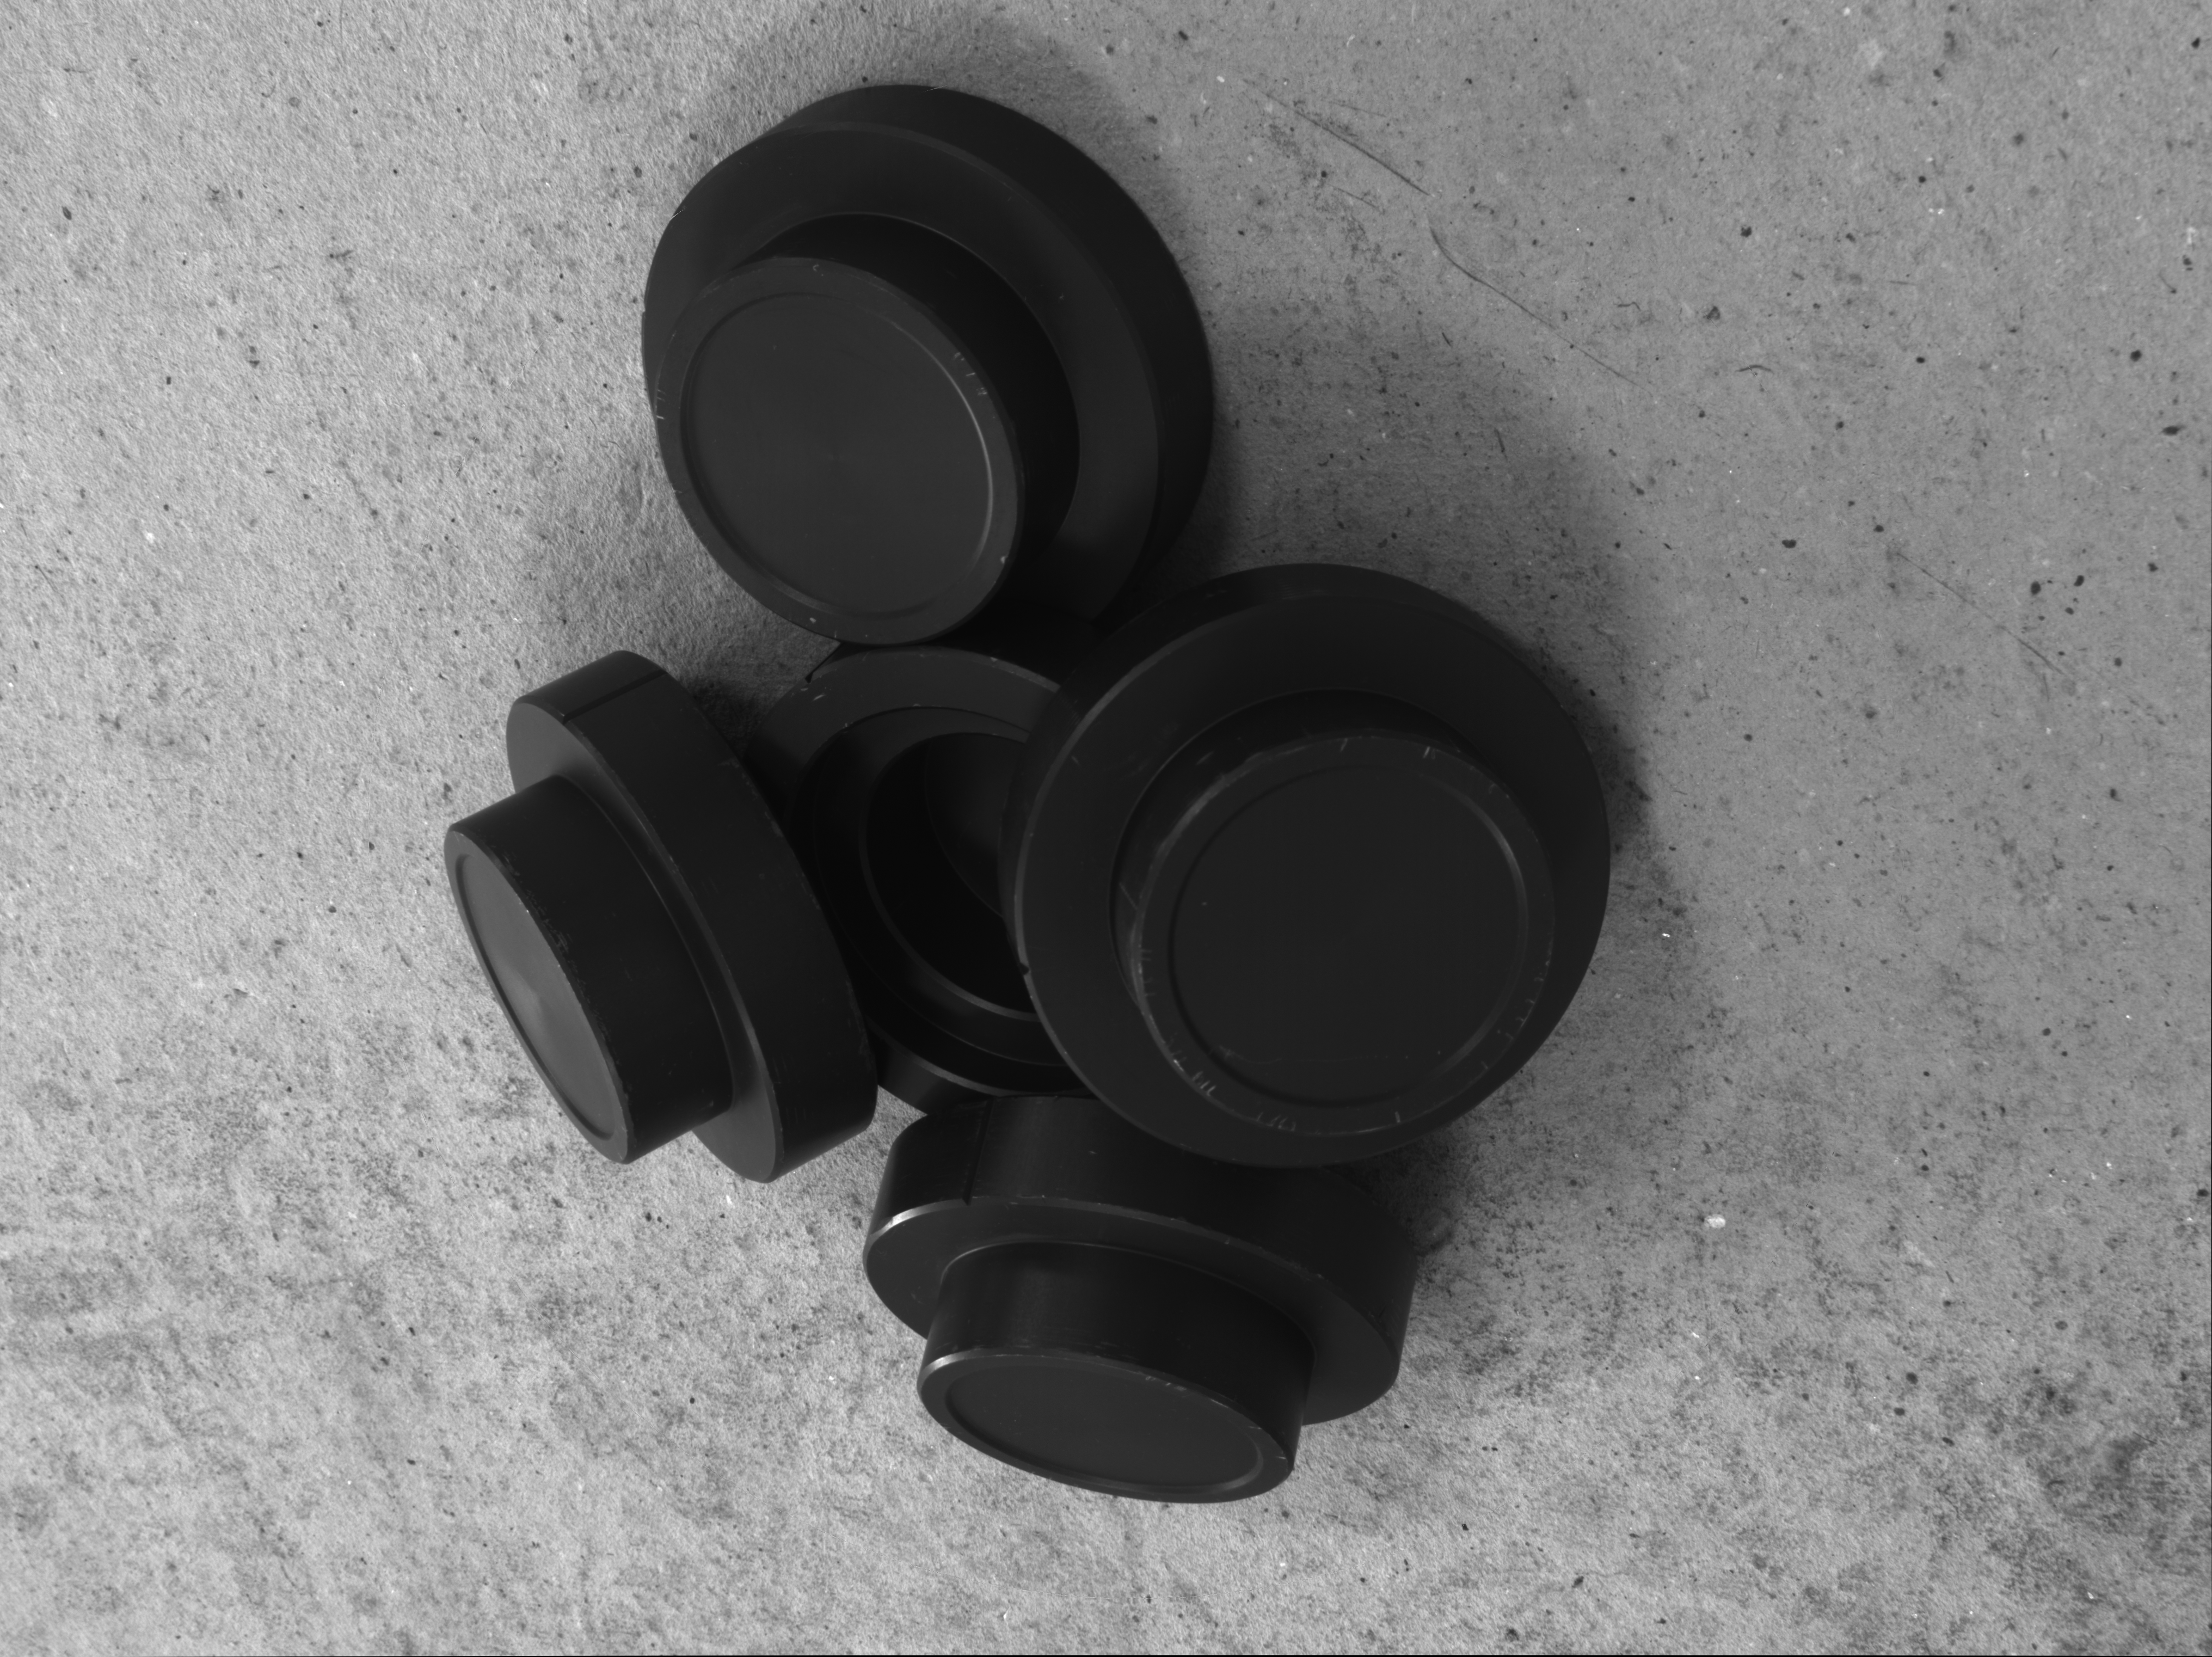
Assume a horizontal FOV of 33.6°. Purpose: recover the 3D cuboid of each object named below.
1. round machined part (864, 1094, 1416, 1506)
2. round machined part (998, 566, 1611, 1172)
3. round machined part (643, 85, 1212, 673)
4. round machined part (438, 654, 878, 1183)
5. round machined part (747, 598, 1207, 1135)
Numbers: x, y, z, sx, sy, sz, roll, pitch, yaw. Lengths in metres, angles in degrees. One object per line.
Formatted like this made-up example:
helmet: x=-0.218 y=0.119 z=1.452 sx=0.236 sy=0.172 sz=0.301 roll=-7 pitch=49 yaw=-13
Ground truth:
round machined part: x=0.004 y=0.089 z=0.656 sx=0.098 sy=0.042 sz=0.098 roll=11 pitch=151 yaw=6
round machined part: x=0.034 y=0.011 z=0.587 sx=0.098 sy=0.042 sz=0.098 roll=-3 pitch=110 yaw=-9
round machined part: x=-0.035 y=-0.070 z=0.608 sx=0.098 sy=0.042 sz=0.098 roll=13 pitch=122 yaw=22
round machined part: x=-0.085 y=0.021 z=0.659 sx=0.098 sy=0.042 sz=0.098 roll=48 pitch=155 yaw=31
round machined part: x=-0.012 y=0.004 z=0.640 sx=0.098 sy=0.042 sz=0.098 roll=15 pitch=124 yaw=23
